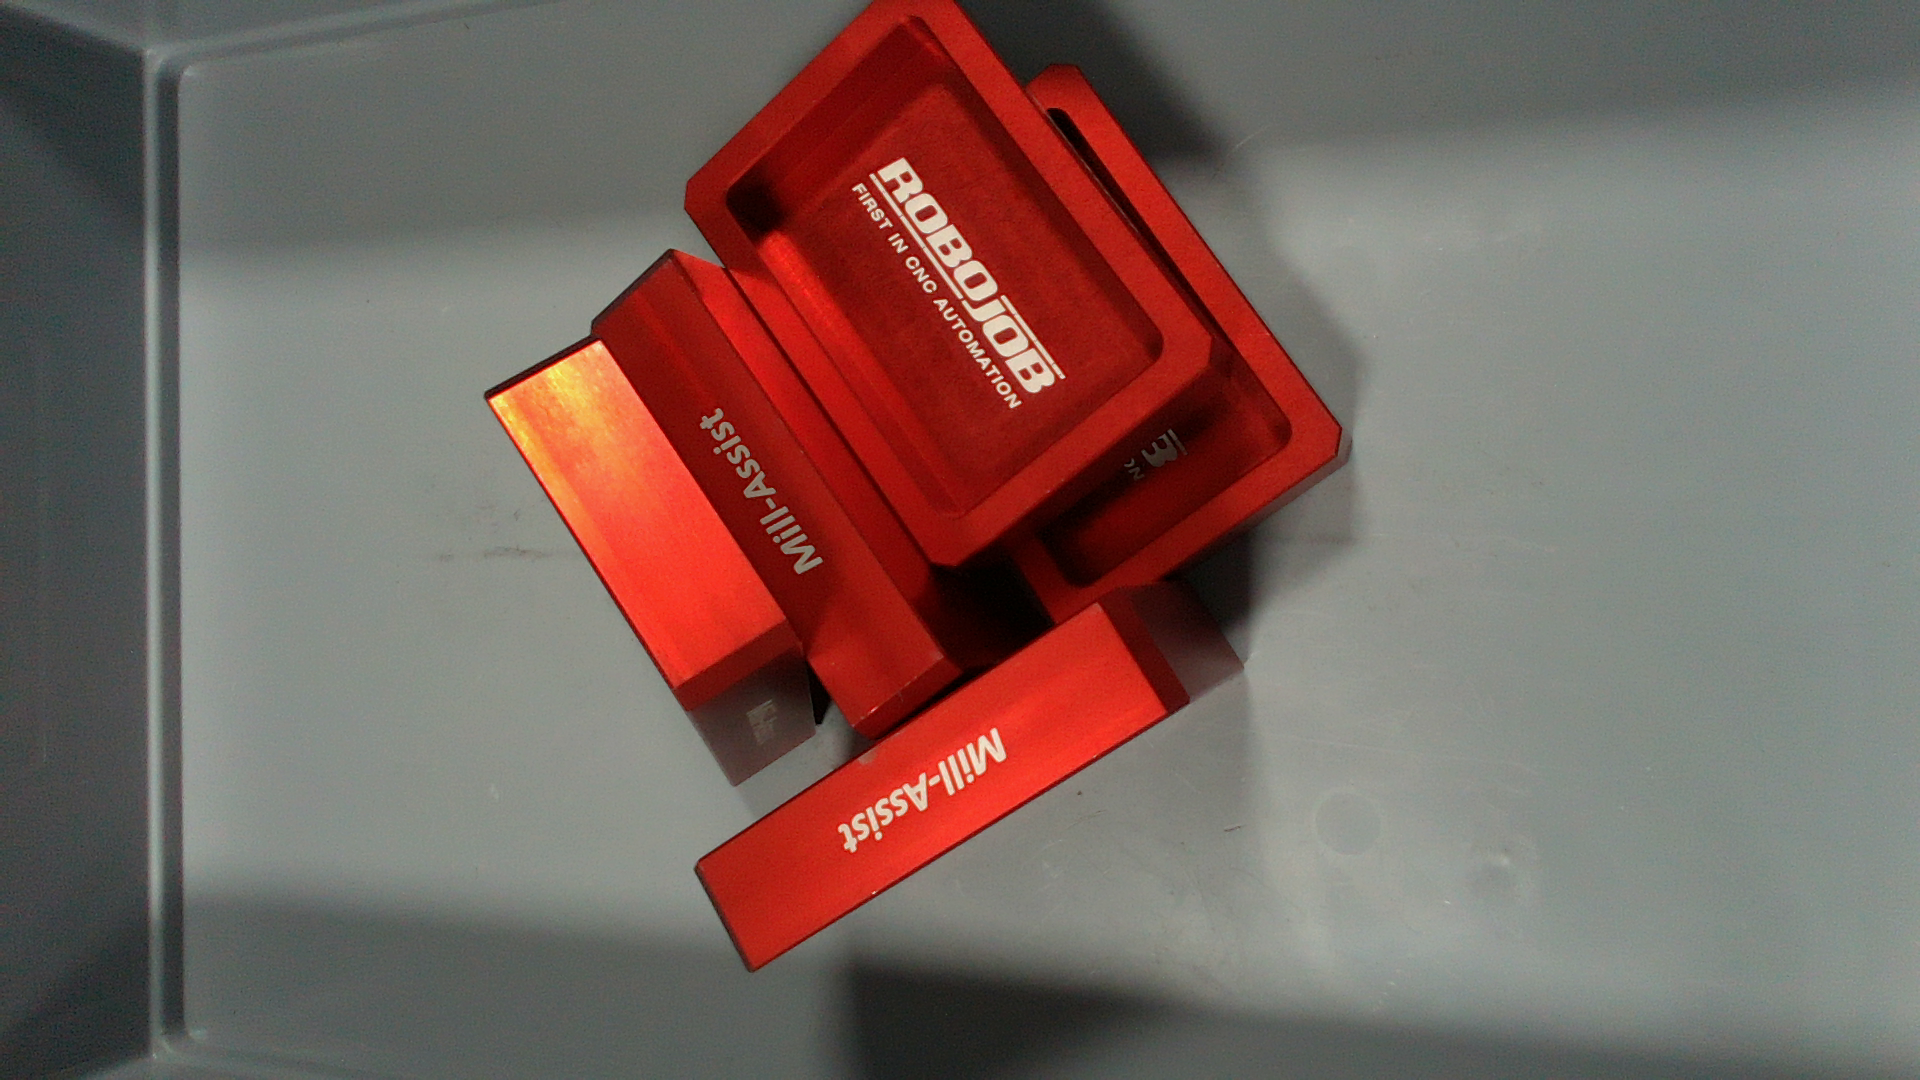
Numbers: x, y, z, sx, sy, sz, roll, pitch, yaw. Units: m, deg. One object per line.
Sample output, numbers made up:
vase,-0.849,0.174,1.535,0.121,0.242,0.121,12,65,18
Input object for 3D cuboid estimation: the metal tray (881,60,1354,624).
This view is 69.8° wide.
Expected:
metal tray,0.035,-0.052,0.381,0.090,0.030,0.130,-36,78,18

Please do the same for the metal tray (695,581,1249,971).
metal tray,0.006,0.058,0.358,0.130,0.090,0.030,-34,79,17

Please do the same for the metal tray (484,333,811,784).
metal tray,-0.077,0.013,0.368,0.030,0.130,0.090,-32,78,-14

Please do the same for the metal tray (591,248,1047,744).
metal tray,-0.033,-0.013,0.371,0.030,0.090,0.130,-39,78,16

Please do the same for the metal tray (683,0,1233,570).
metal tray,-0.003,-0.068,0.361,0.090,0.030,0.130,-38,77,16
